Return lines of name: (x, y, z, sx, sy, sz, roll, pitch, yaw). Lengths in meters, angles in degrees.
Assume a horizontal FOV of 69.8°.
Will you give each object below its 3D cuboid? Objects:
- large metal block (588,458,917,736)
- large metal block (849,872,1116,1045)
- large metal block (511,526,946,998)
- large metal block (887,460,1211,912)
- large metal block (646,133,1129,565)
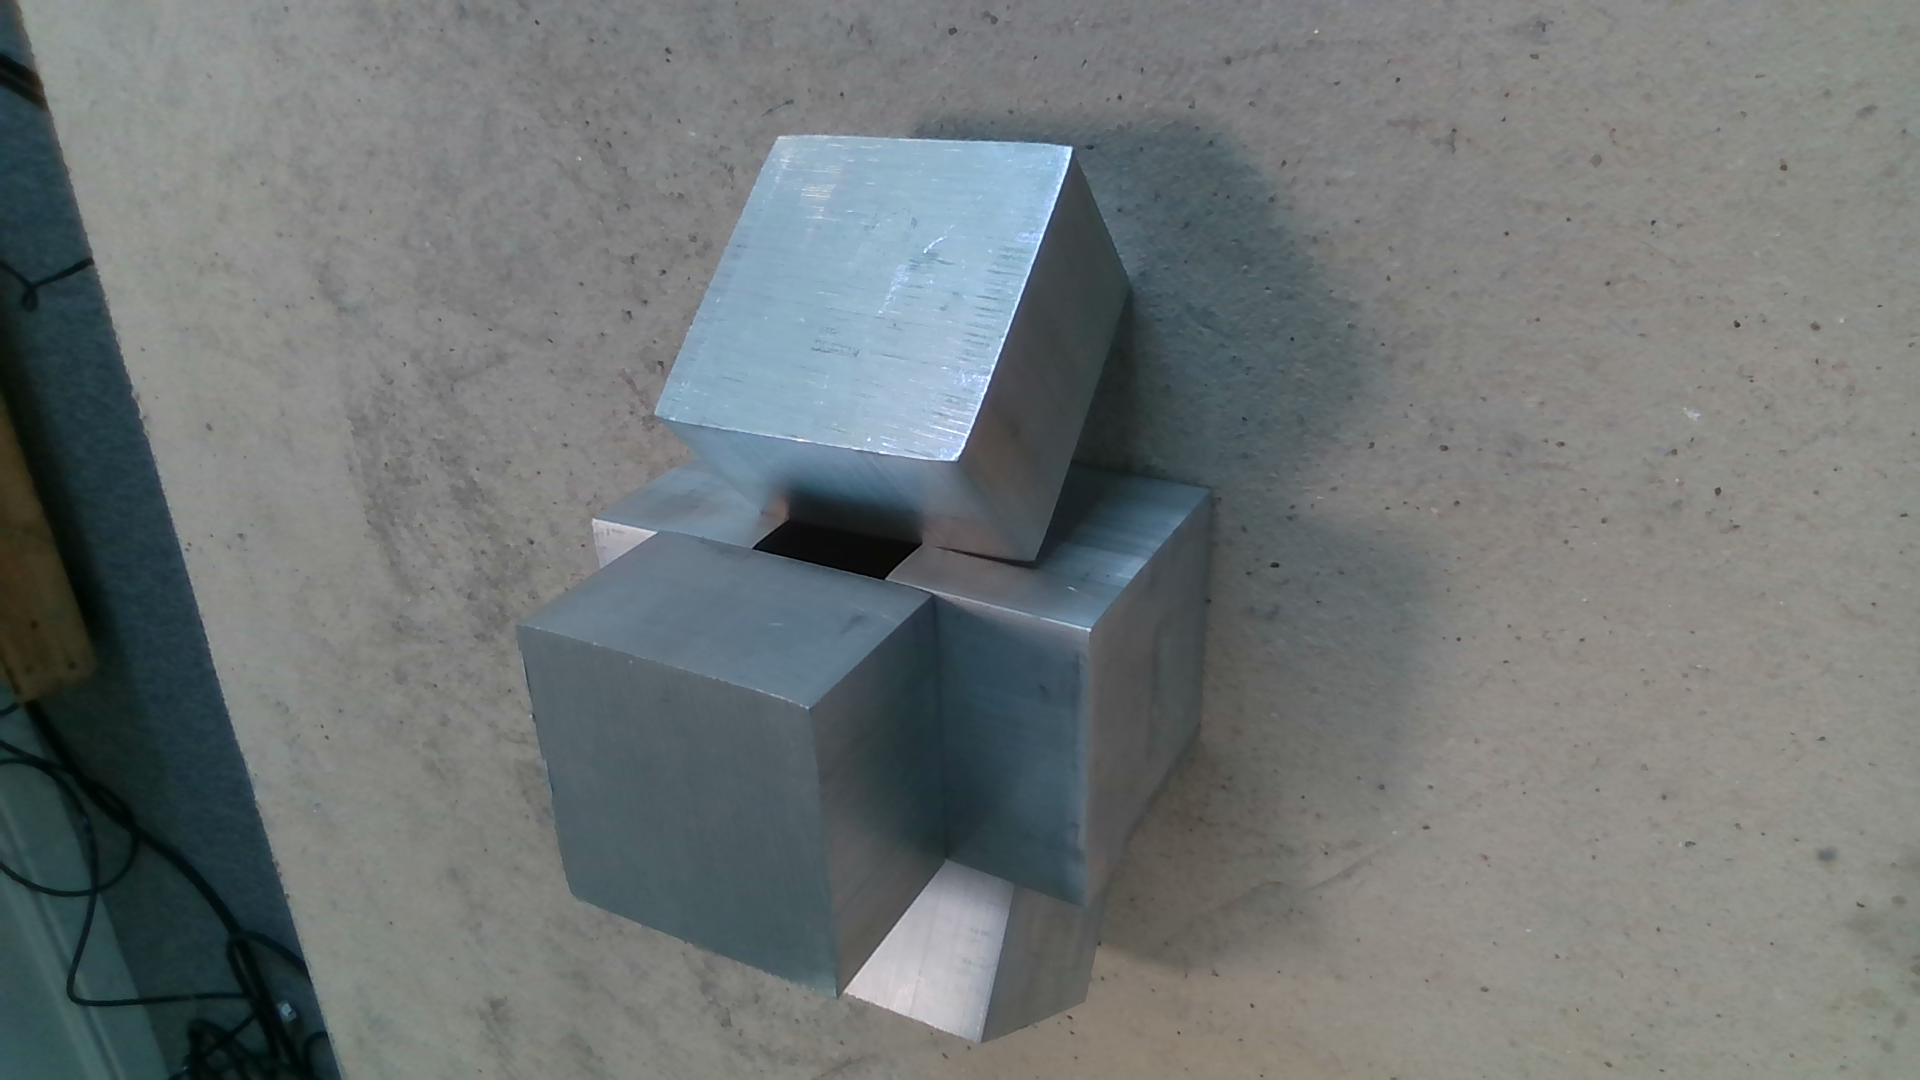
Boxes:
large metal block: (-0.054, 0.015, 0.397, 0.050, 0.080, 0.080, 11, 120, 27)
large metal block: (-0.007, 0.104, 0.405, 0.080, 0.080, 0.050, 11, 86, 27)
large metal block: (-0.052, 0.050, 0.329, 0.080, 0.050, 0.080, 12, 121, 26)
large metal block: (0.026, 0.033, 0.356, 0.050, 0.080, 0.080, 12, 121, 26)
large metal block: (-0.014, -0.047, 0.328, 0.080, 0.080, 0.050, 11, 160, 26)
